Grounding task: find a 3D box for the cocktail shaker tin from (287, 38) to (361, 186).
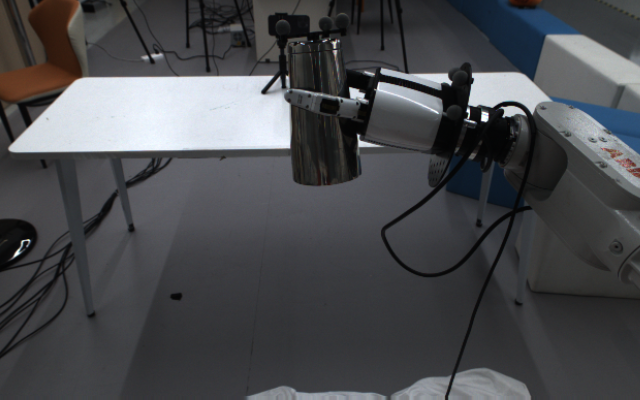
[{"bbox_3d":[0.002,-0.113,0.614,0.093,0.170,0.093,-6,19,2],"label":"cocktail shaker tin"}]
